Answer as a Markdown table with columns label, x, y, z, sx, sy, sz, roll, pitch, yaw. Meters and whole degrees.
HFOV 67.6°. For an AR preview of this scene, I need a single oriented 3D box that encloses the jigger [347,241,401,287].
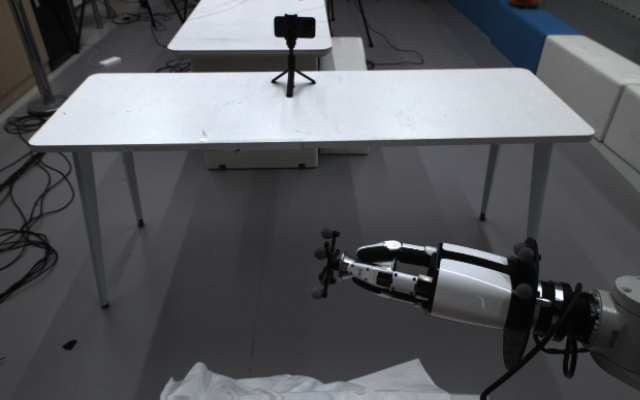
| label | x | y | z | sx | sy | sz | roll | pitch | yaw |
| --- | --- | --- | --- | --- | --- | --- | --- | --- | --- |
| jigger | 0.068 | 0.088 | 0.627 | 0.071 | 0.043 | 0.043 | 7 | 35 | 15 |
